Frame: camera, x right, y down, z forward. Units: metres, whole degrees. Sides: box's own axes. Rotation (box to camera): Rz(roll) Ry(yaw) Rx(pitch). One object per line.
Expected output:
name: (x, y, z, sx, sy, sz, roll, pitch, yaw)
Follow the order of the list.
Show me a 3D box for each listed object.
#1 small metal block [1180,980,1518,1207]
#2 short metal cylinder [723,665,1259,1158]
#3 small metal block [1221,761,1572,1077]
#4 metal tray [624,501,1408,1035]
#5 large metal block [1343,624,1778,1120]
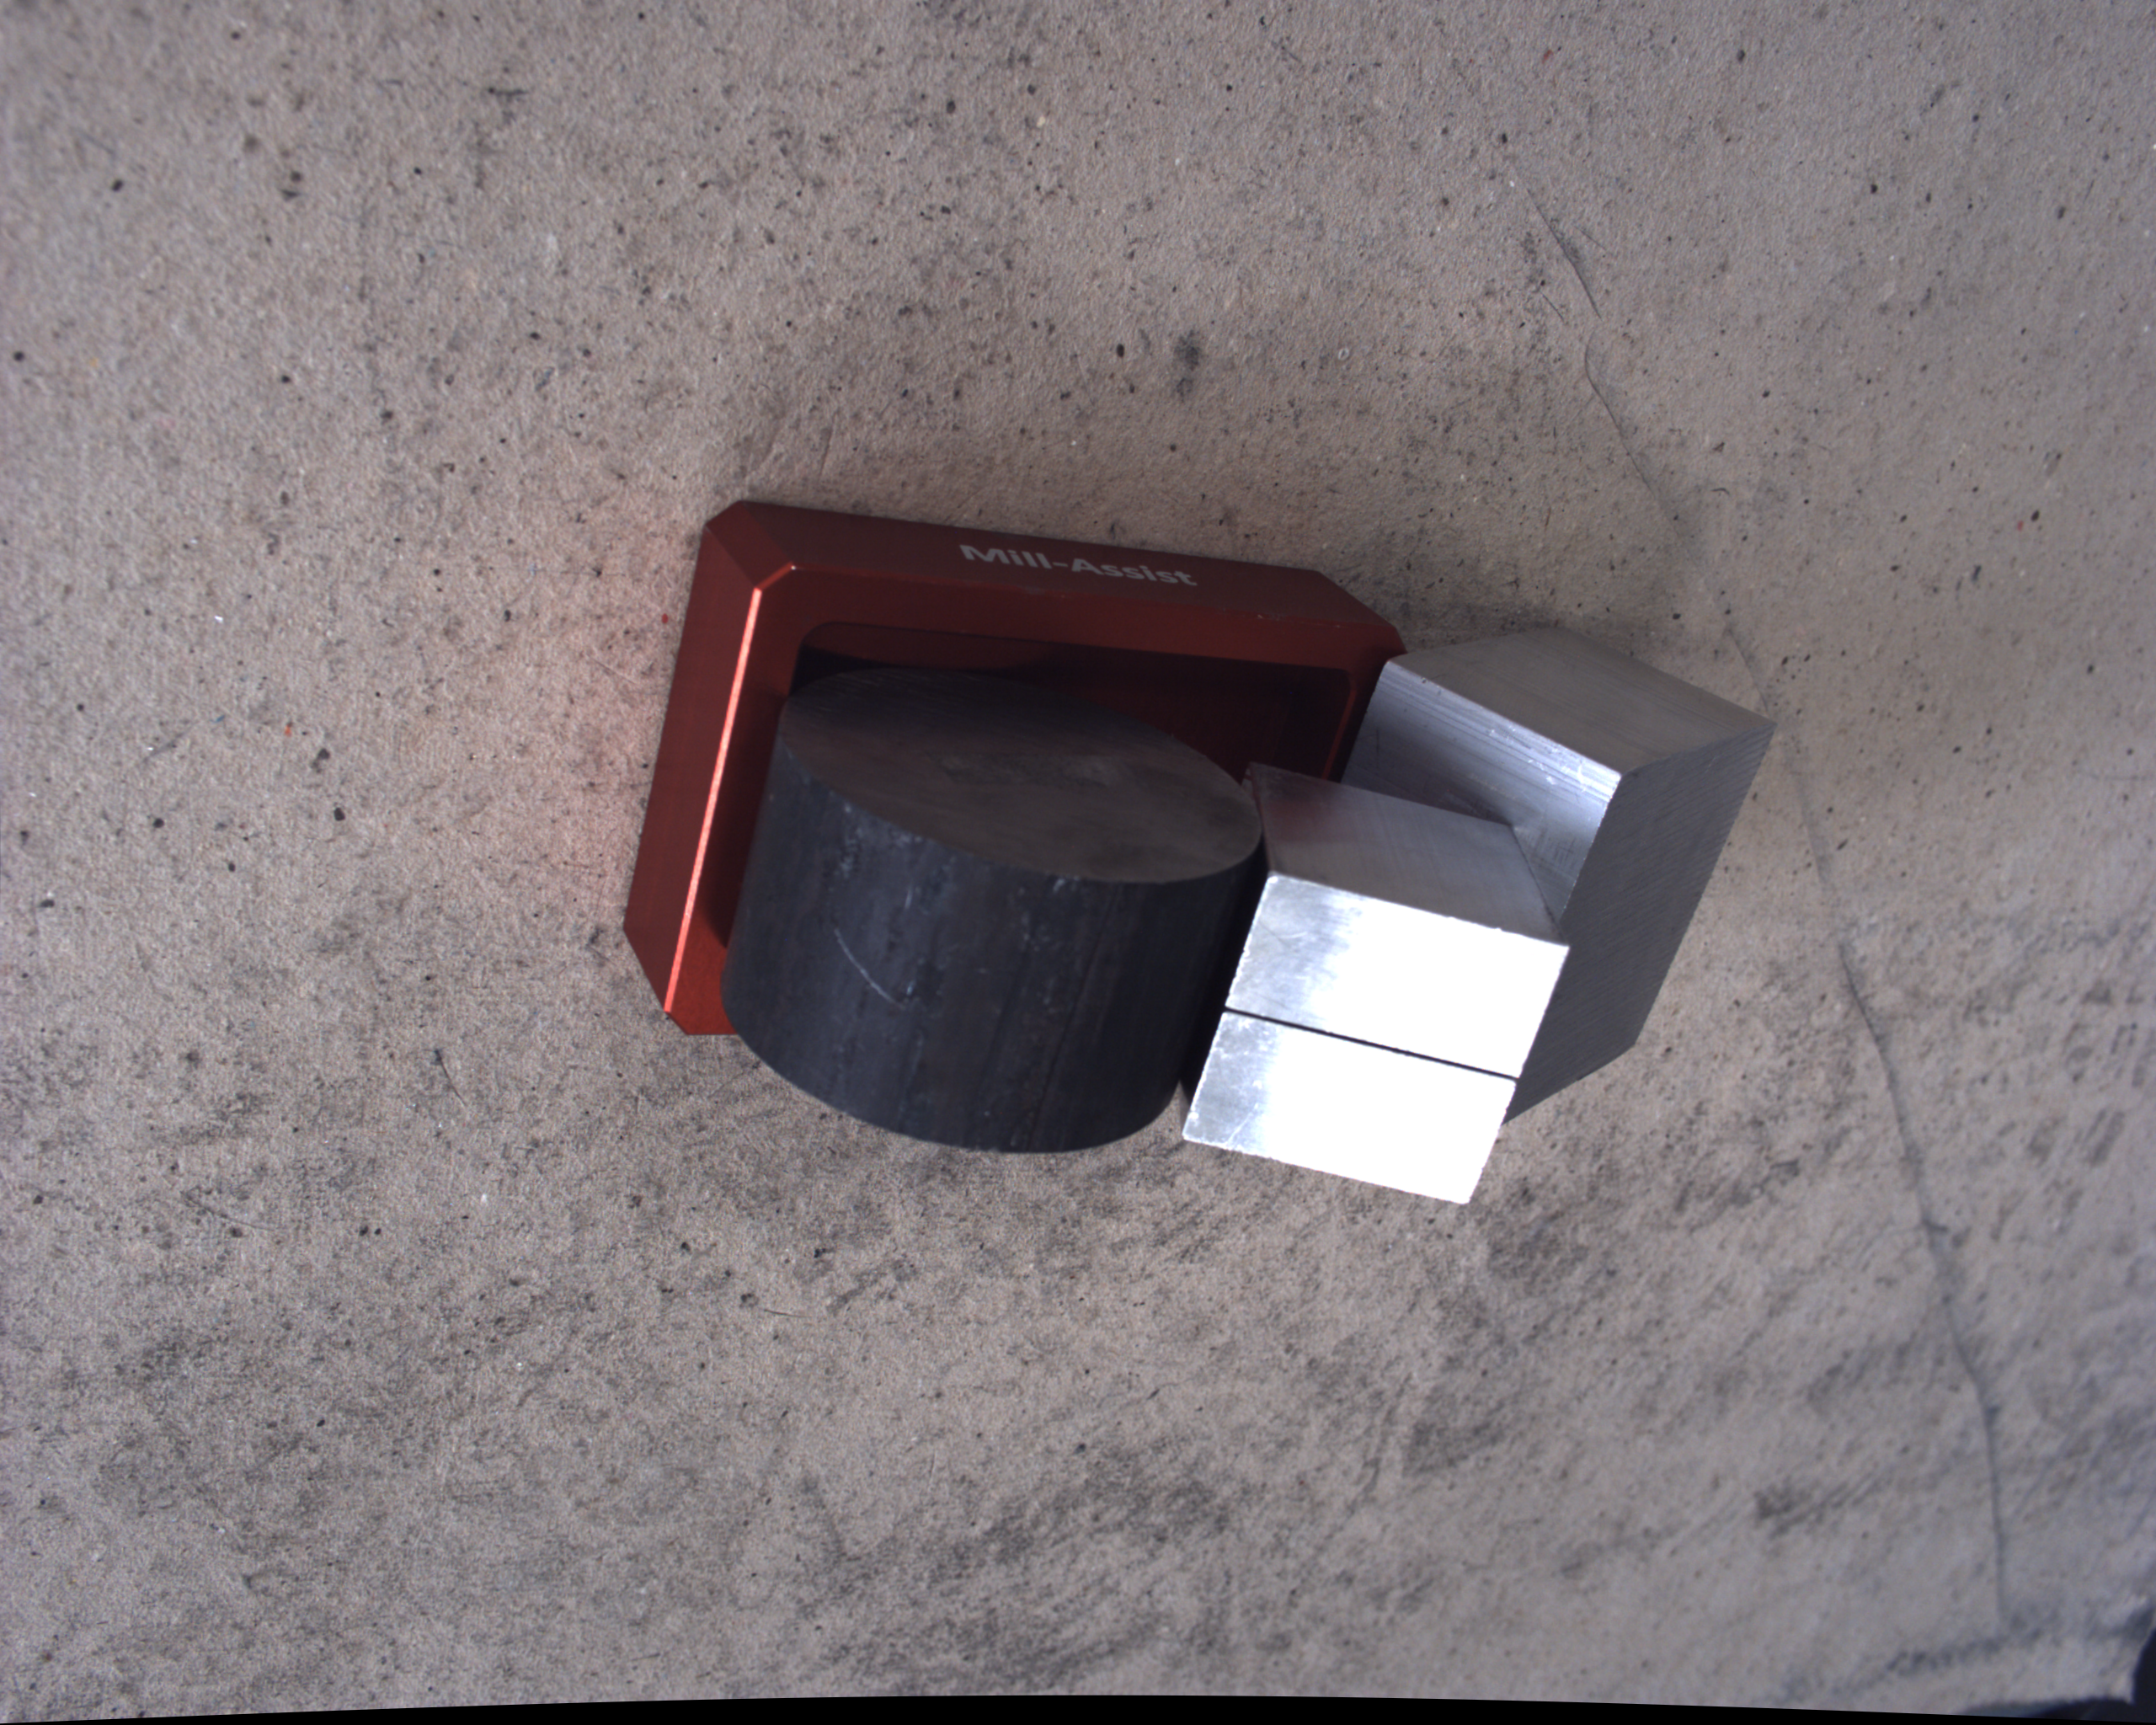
small metal block: (0.045, 0.031, 0.368, 0.050, 0.050, 0.025, 13, 113, -6)
short metal cylinder: (-0.015, 0.006, 0.351, 0.081, 0.080, 0.050, 1, 118, -29)
small metal block: (0.051, 0.009, 0.358, 0.050, 0.050, 0.025, 13, 113, -6)
metal tray: (-0.011, -0.014, 0.391, 0.131, 0.030, 0.089, 2, 118, -30)
large metal block: (0.090, 0.001, 0.423, 0.081, 0.050, 0.079, -16, 130, -52)
